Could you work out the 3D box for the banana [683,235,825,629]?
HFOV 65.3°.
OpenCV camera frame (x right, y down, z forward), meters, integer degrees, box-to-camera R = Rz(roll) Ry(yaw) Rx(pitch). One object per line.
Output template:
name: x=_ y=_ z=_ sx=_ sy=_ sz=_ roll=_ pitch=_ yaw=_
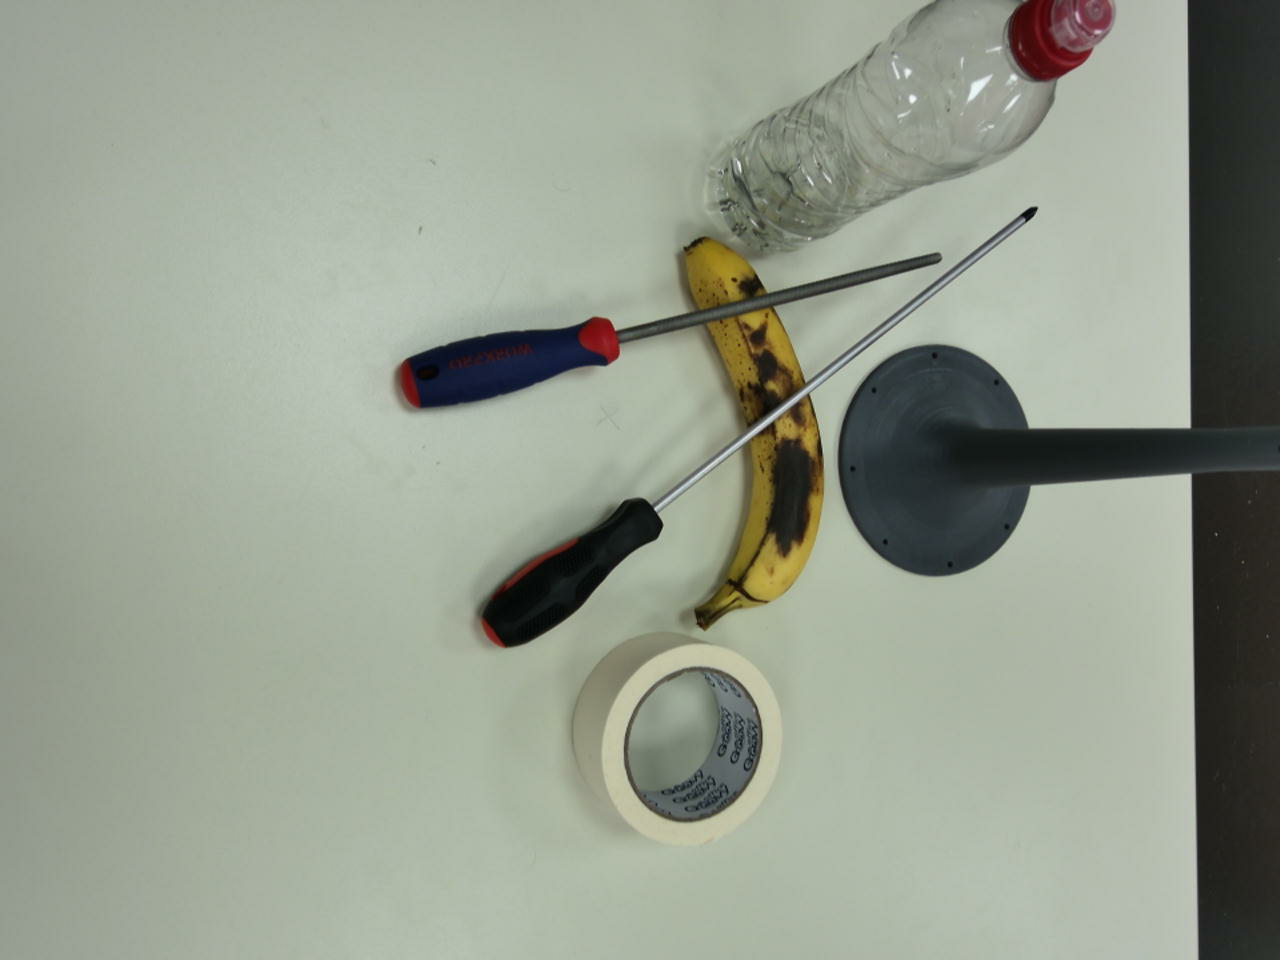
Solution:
banana: x=0.068 y=-0.027 z=0.577 sx=0.084 sy=0.038 sz=0.222 roll=0 pitch=90 yaw=-22
